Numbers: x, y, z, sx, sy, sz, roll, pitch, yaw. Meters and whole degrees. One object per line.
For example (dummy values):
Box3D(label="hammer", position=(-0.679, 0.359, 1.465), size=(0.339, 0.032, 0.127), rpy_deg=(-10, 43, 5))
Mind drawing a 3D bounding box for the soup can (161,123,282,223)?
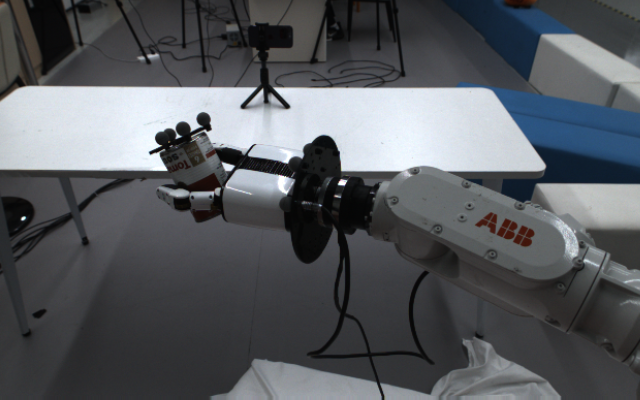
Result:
Box3D(label="soup can", position=(-0.156, -0.029, 0.641), size=(0.067, 0.101, 0.067), rpy_deg=(-24, 16, 7))
